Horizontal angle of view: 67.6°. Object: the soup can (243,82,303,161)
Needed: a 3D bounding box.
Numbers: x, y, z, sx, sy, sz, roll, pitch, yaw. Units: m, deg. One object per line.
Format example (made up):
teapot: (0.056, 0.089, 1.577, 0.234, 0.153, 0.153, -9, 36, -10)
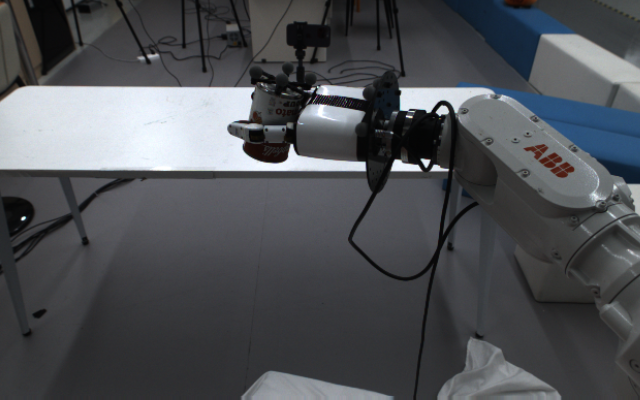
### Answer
soup can: (-0.066, -0.112, 0.677, 0.067, 0.101, 0.067, 13, 31, -8)
